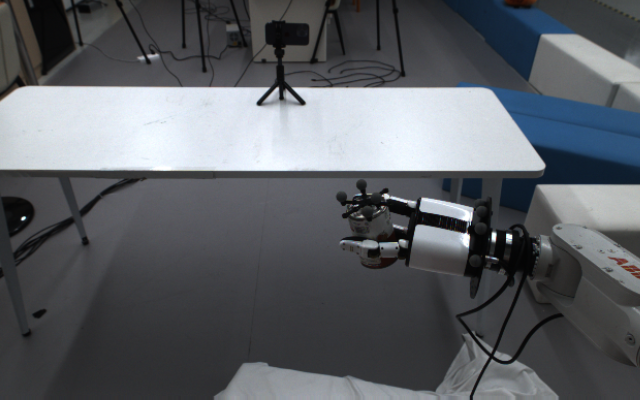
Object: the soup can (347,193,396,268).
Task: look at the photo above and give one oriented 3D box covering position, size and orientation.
[{"bbox_3d":[0.087,0.051,0.773,0.067,0.101,0.067,-13,31,8],"label":"soup can"}]
